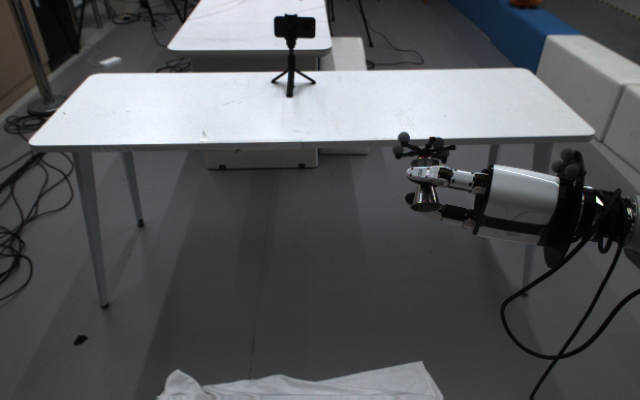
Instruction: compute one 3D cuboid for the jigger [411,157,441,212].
[{"bbox_3d":[0.148,-0.024,0.684,0.043,0.043,0.071,3,72,1],"label":"jigger"}]
